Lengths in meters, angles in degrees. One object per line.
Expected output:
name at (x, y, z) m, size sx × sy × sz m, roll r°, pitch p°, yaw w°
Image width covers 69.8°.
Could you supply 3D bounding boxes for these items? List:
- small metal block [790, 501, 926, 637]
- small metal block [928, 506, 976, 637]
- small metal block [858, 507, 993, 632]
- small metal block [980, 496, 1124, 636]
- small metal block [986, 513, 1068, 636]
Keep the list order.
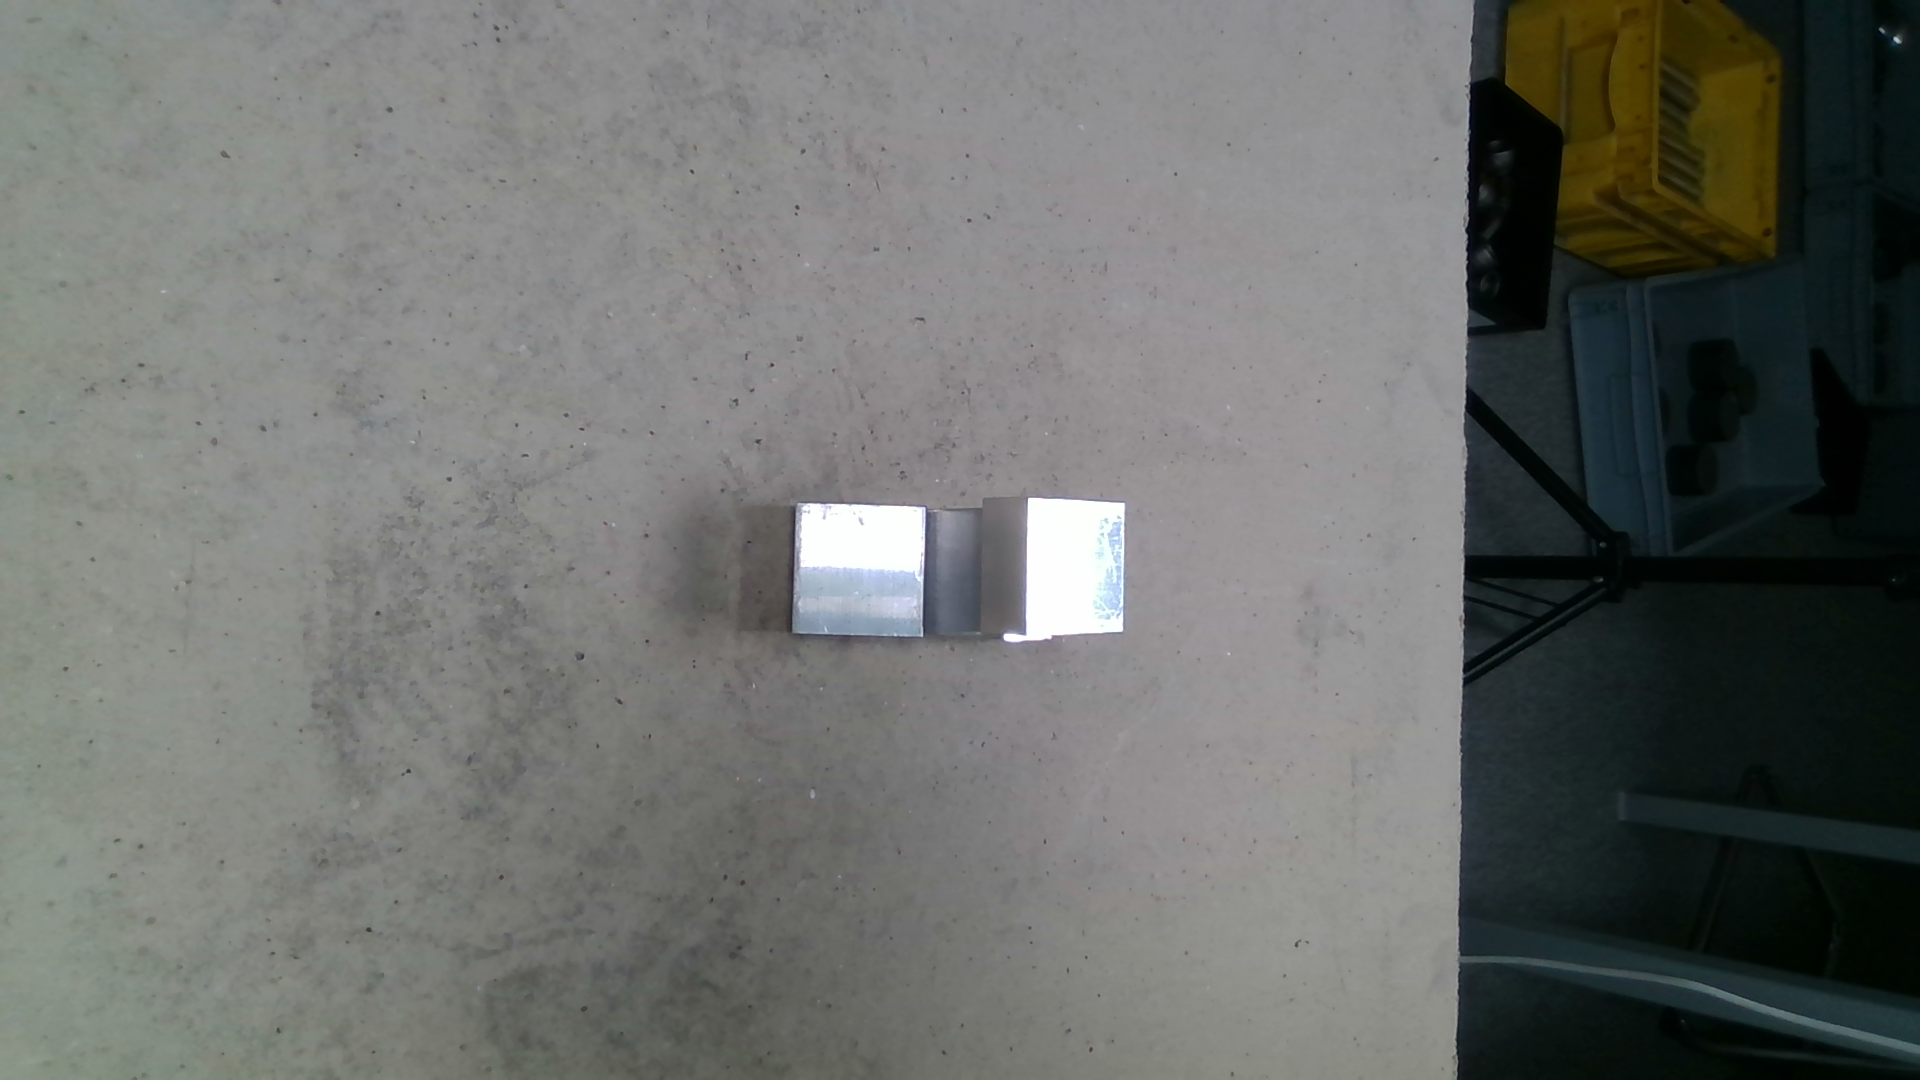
small metal block at (-0.039, 0.011, 0.534) m, size 0.050 × 0.025 × 0.050 m, roll 2°, pitch 89°, yaw 0°
small metal block at (0.010, 0.013, 0.542) m, size 0.025 × 0.050 × 0.050 m, roll 3°, pitch 88°, yaw -40°
small metal block at (-0.014, 0.013, 0.572) m, size 0.050 × 0.025 × 0.050 m, roll 3°, pitch 88°, yaw -40°
small metal block at (0.035, 0.010, 0.515) m, size 0.050 × 0.025 × 0.050 m, roll 1°, pitch 89°, yaw -40°
small metal block at (0.029, 0.015, 0.593) m, size 0.050 × 0.025 × 0.050 m, roll 9°, pitch 82°, yaw -76°
